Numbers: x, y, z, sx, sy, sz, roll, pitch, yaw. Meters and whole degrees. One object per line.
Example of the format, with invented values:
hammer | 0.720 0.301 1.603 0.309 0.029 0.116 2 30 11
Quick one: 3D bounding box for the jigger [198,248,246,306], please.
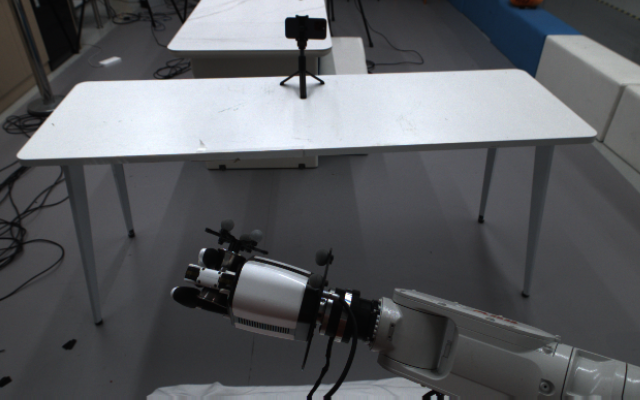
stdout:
jigger | -0.126 0.100 0.629 0.043 0.043 0.071 15 70 18
